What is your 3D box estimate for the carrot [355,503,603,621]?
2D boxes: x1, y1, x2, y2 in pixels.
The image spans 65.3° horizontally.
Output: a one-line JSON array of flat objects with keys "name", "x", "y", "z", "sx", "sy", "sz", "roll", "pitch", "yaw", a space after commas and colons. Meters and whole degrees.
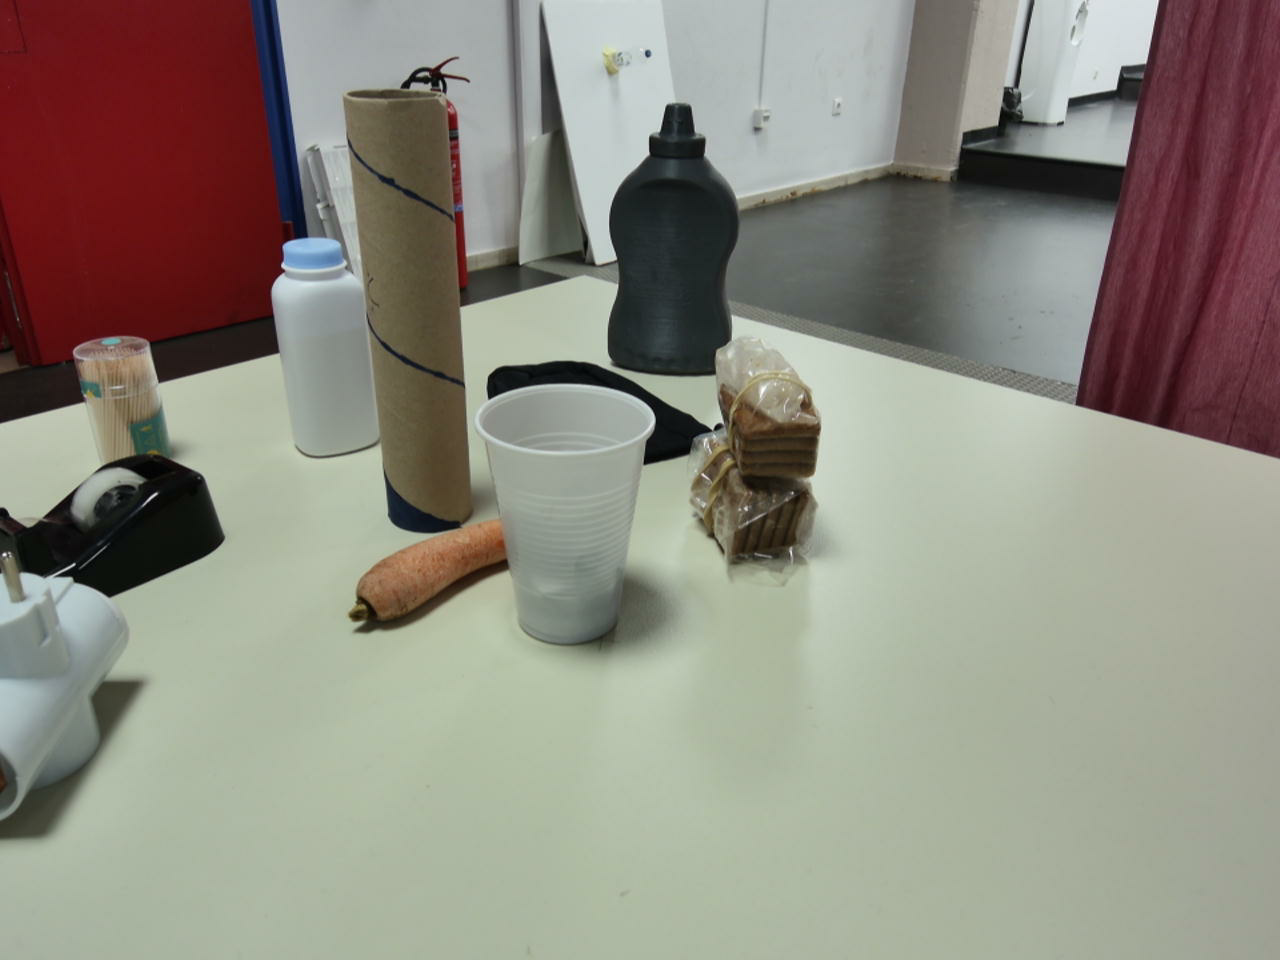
[{"name": "carrot", "x": -0.082, "y": 0.034, "z": 0.528, "sx": 0.031, "sy": 0.029, "sz": 0.163, "roll": 21, "pitch": 32, "yaw": 37}]
